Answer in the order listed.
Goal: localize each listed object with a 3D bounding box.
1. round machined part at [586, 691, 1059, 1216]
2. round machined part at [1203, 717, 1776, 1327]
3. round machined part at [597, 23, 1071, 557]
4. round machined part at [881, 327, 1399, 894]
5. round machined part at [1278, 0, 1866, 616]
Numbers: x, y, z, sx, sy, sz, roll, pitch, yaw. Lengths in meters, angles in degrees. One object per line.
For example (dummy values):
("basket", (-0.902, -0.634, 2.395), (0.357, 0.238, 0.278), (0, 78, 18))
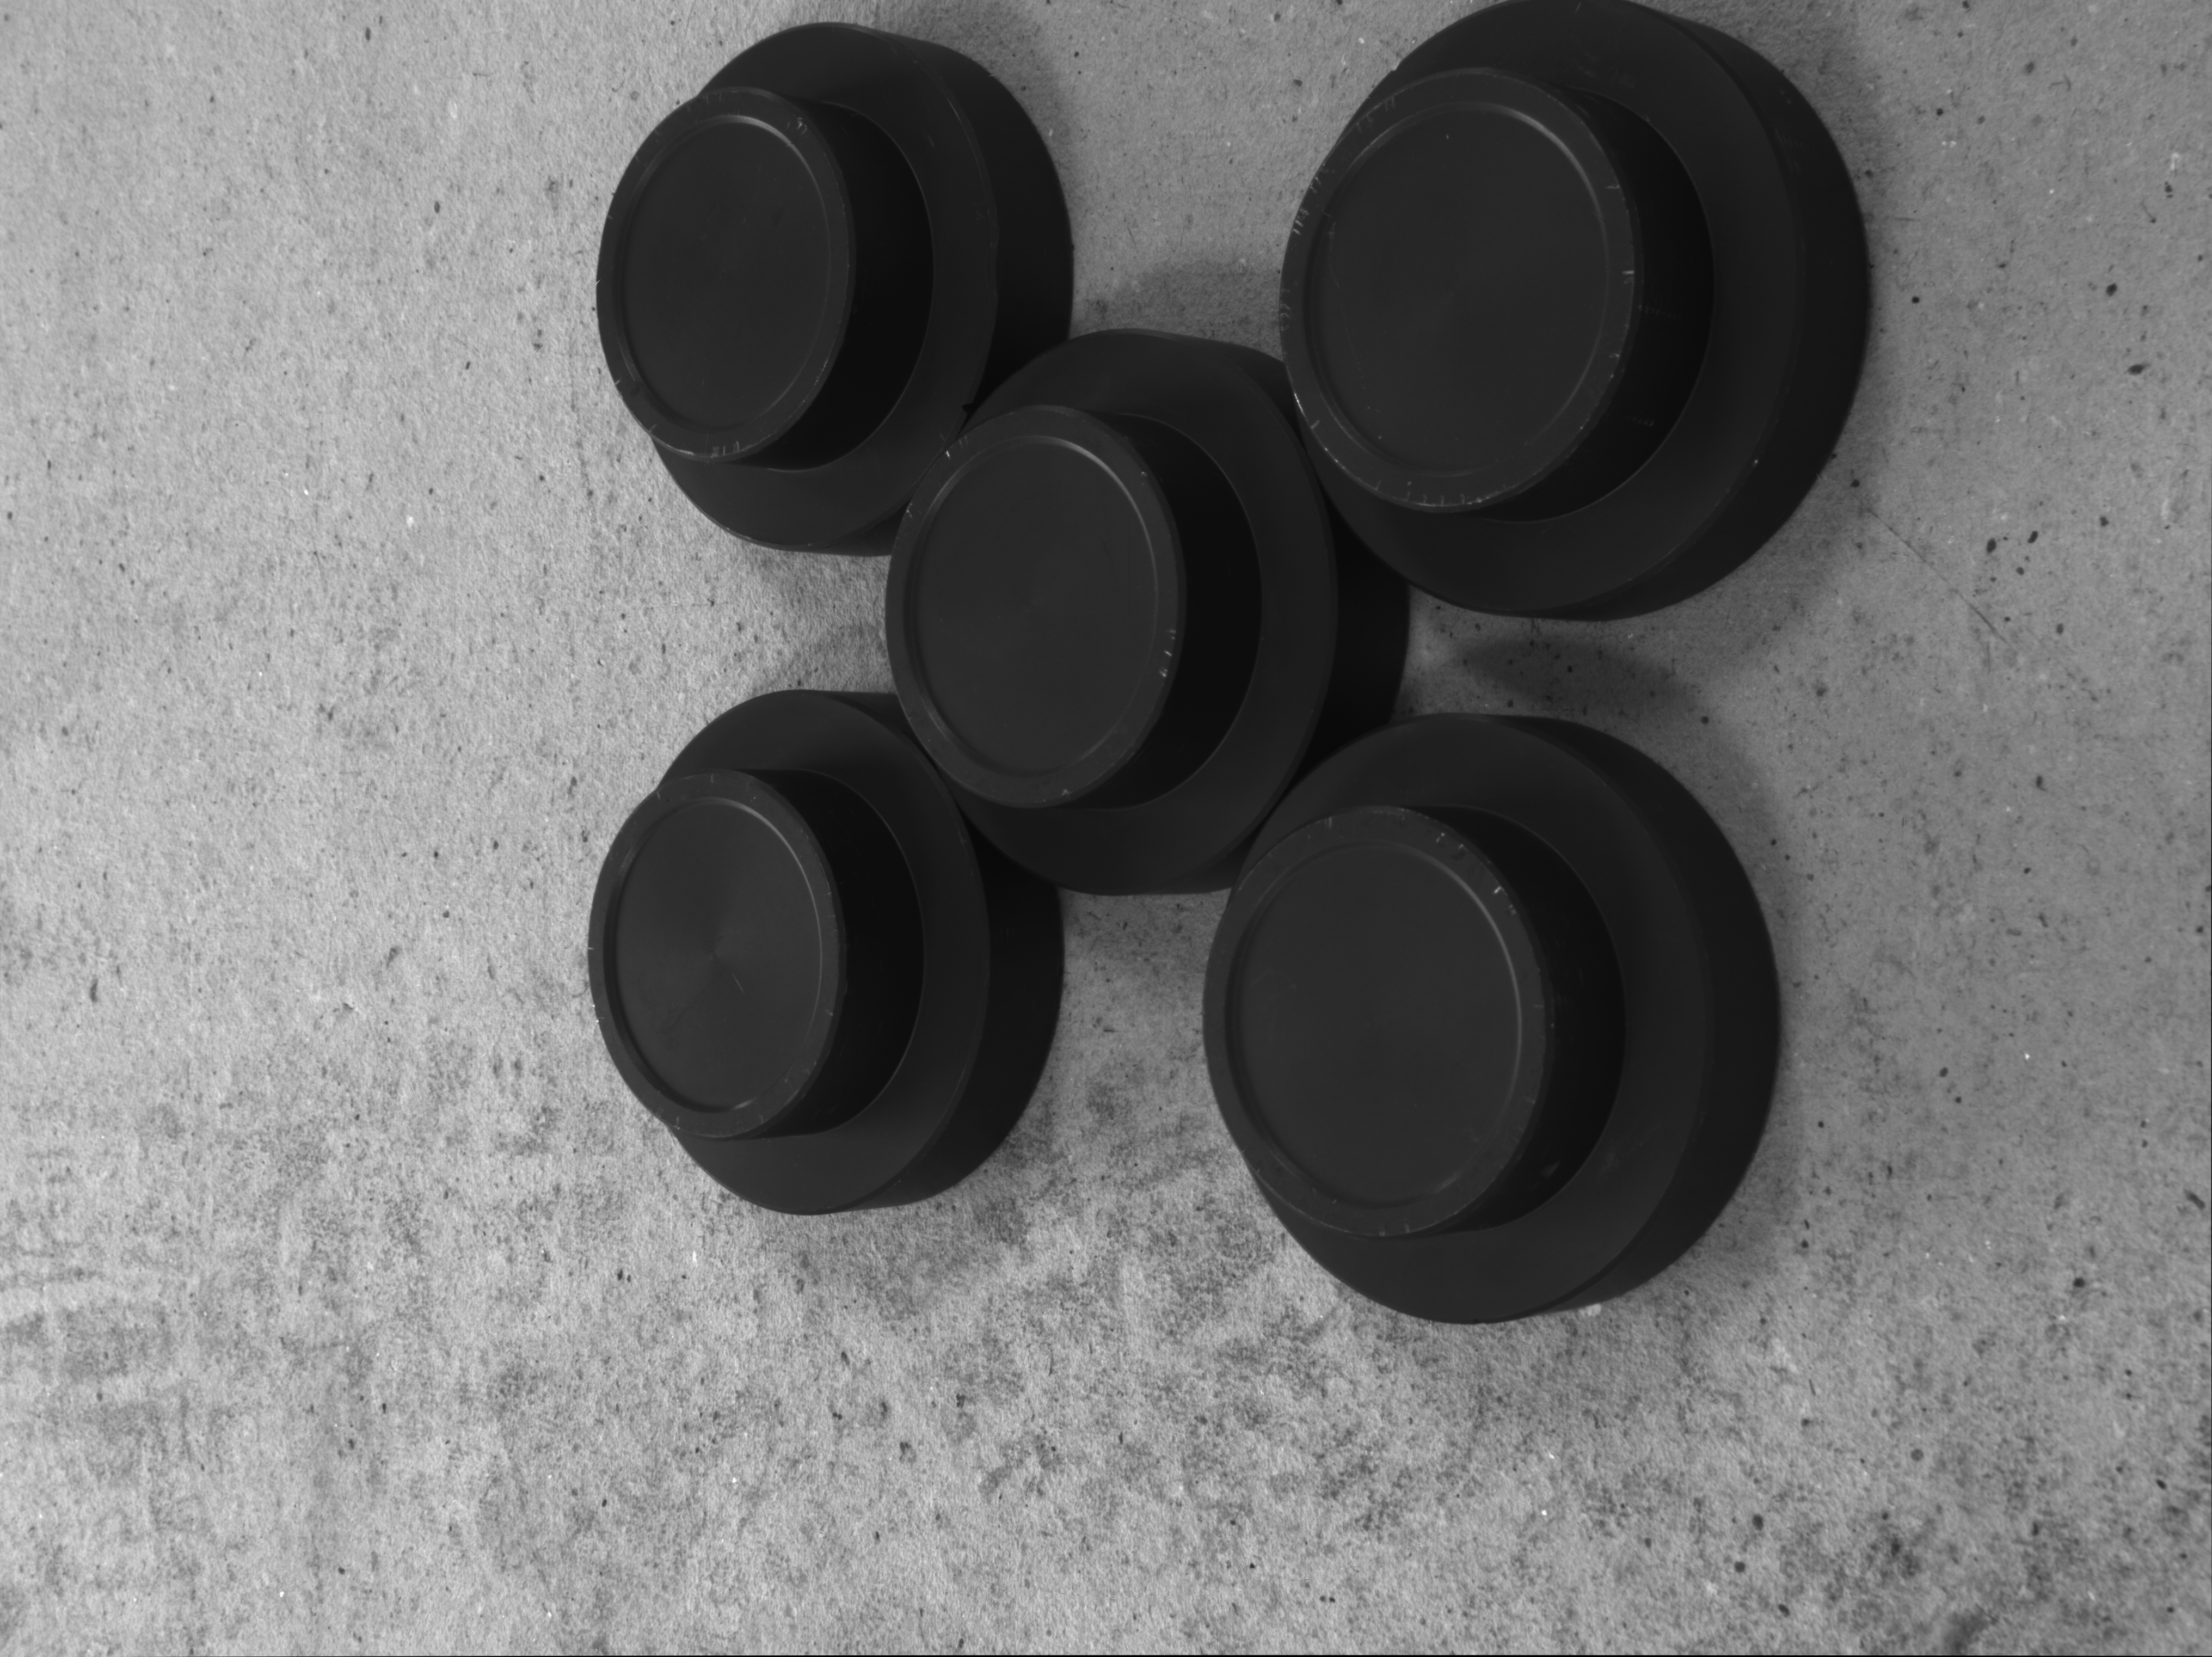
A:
("round machined part", (-0.059, 0.023, 0.683), (0.098, 0.042, 0.098), (1, 91, 40))
("round machined part", (0.054, 0.031, 0.588), (0.098, 0.042, 0.098), (2, 93, 41))
("round machined part", (-0.057, -0.100, 0.682), (0.098, 0.042, 0.098), (0, 90, 40))
("round machined part", (-0.001, -0.038, 0.635), (0.098, 0.042, 0.098), (2, 93, 41))
("round machined part", (0.066, -0.083, 0.578), (0.098, 0.042, 0.098), (2, 93, 41))
